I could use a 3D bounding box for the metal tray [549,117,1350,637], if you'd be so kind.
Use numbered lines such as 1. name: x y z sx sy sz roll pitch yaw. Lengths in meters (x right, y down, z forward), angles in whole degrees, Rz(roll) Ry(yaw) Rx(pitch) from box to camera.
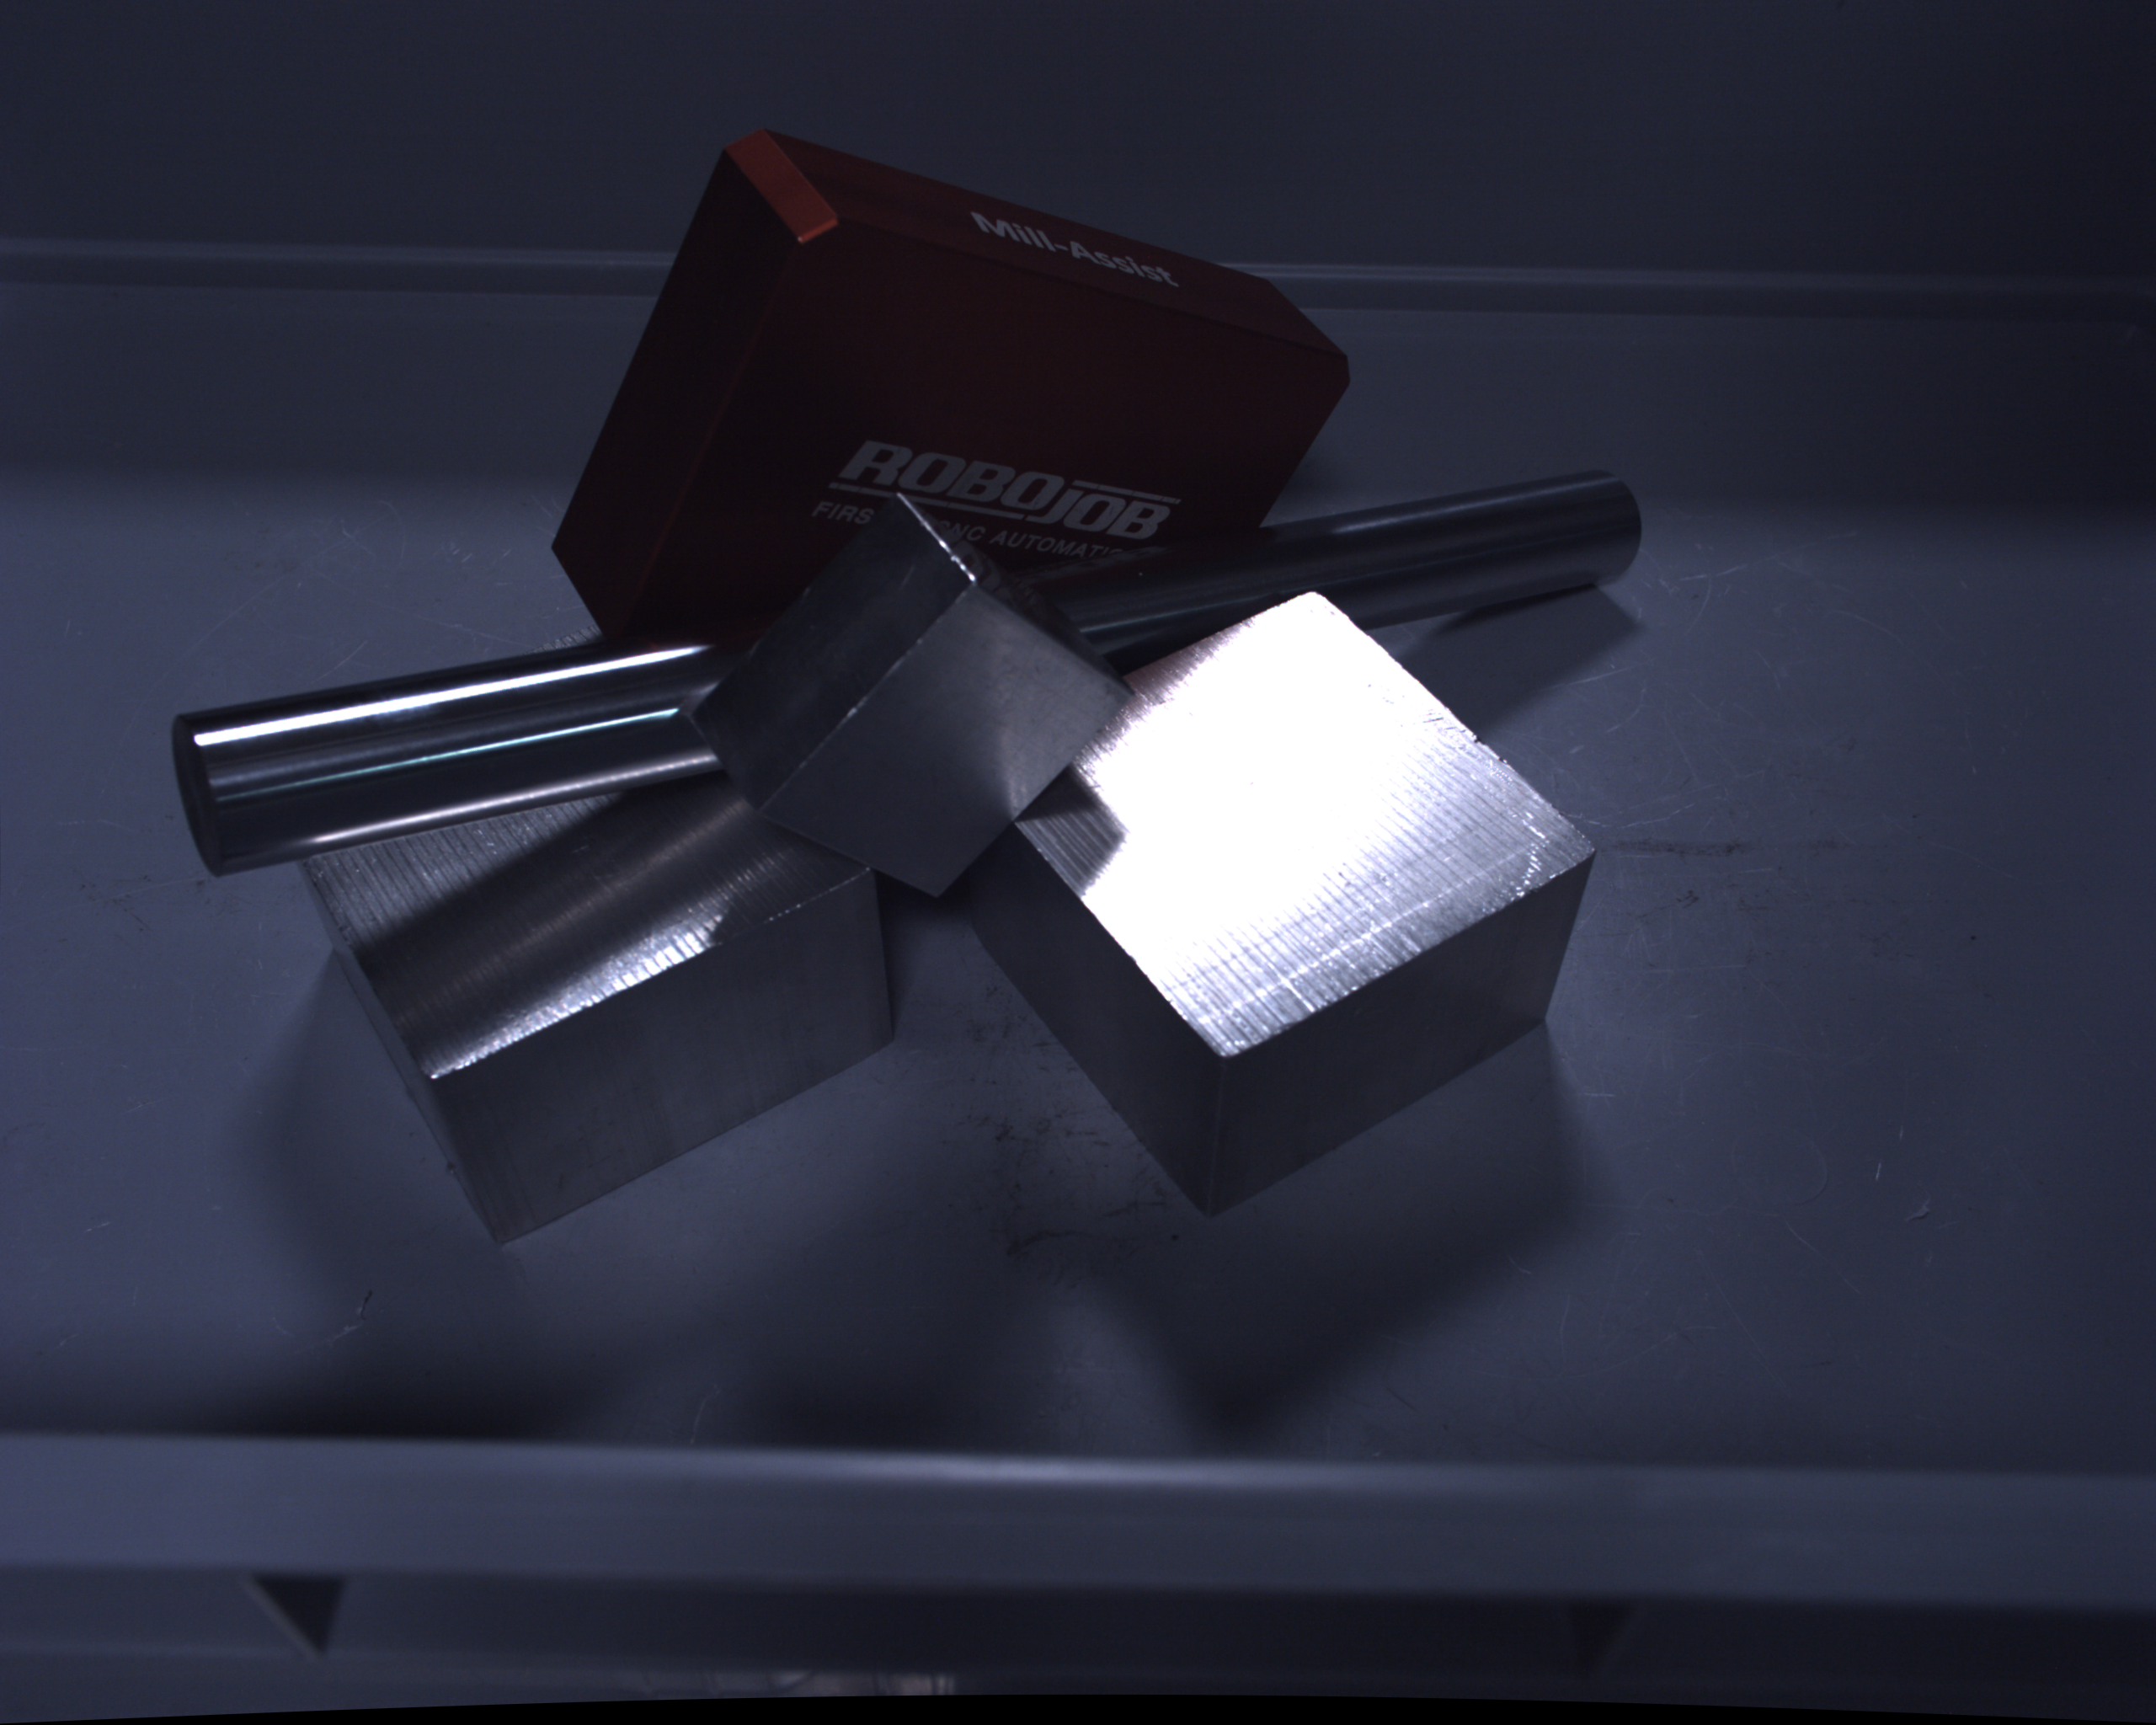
1. metal tray: -0.021 -0.077 0.390 0.131 0.089 0.030 1 42 -43

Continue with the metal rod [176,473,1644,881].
1. metal rod: -0.006 -0.042 0.390 0.303 0.025 0.025 -15 50 -32

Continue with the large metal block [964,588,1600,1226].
1. large metal block: 0.034 0.006 0.383 0.081 0.050 0.080 -27 55 -21

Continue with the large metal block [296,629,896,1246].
1. large metal block: -0.090 0.008 0.376 0.081 0.050 0.080 -27 55 -21

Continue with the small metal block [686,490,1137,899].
1. small metal block: -0.027 -0.026 0.345 0.050 0.050 0.025 -45 56 11
